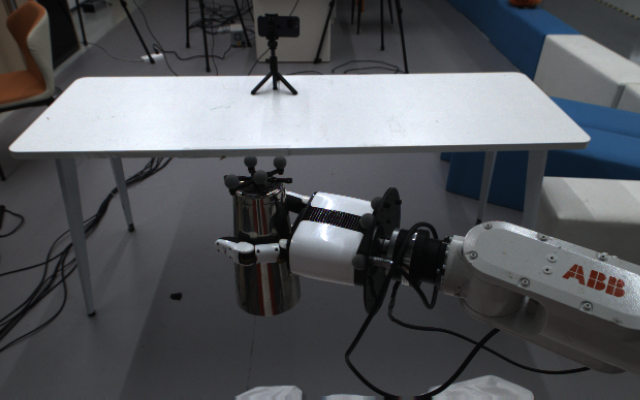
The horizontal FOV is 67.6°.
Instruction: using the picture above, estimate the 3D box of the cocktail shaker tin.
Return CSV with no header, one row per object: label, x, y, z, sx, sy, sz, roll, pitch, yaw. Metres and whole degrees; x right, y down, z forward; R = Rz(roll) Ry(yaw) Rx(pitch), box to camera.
cocktail shaker tin,-0.073,0.058,0.647,0.093,0.170,0.093,-2,26,1
